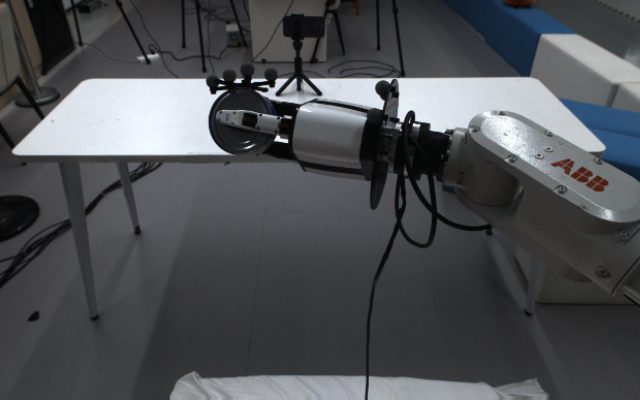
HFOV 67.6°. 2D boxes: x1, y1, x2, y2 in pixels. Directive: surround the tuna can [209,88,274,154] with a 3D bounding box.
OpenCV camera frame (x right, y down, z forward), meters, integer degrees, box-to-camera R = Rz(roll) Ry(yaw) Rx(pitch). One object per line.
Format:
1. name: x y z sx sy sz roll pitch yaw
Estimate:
1. tuna can: -0.095 -0.100 0.628 0.085 0.085 0.034 10 3 11
